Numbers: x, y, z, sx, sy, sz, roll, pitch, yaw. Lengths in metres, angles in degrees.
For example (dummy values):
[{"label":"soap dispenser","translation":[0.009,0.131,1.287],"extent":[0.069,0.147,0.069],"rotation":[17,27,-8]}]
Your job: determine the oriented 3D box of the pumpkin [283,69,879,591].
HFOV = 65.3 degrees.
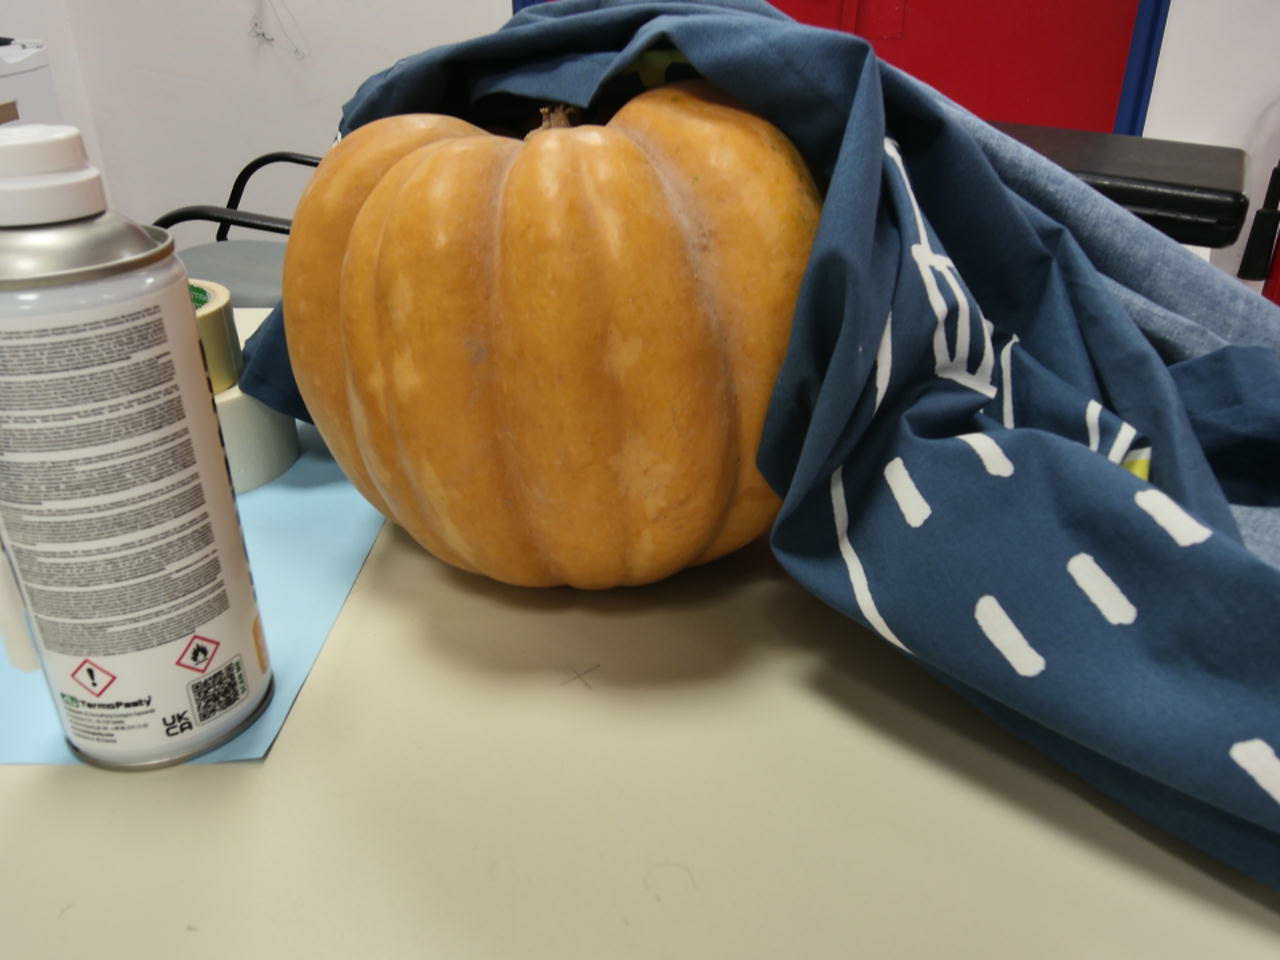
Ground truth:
[{"label":"pumpkin","translation":[-0.019,-0.061,0.404],"extent":[0.230,0.194,0.230],"rotation":[0,25,0]}]
